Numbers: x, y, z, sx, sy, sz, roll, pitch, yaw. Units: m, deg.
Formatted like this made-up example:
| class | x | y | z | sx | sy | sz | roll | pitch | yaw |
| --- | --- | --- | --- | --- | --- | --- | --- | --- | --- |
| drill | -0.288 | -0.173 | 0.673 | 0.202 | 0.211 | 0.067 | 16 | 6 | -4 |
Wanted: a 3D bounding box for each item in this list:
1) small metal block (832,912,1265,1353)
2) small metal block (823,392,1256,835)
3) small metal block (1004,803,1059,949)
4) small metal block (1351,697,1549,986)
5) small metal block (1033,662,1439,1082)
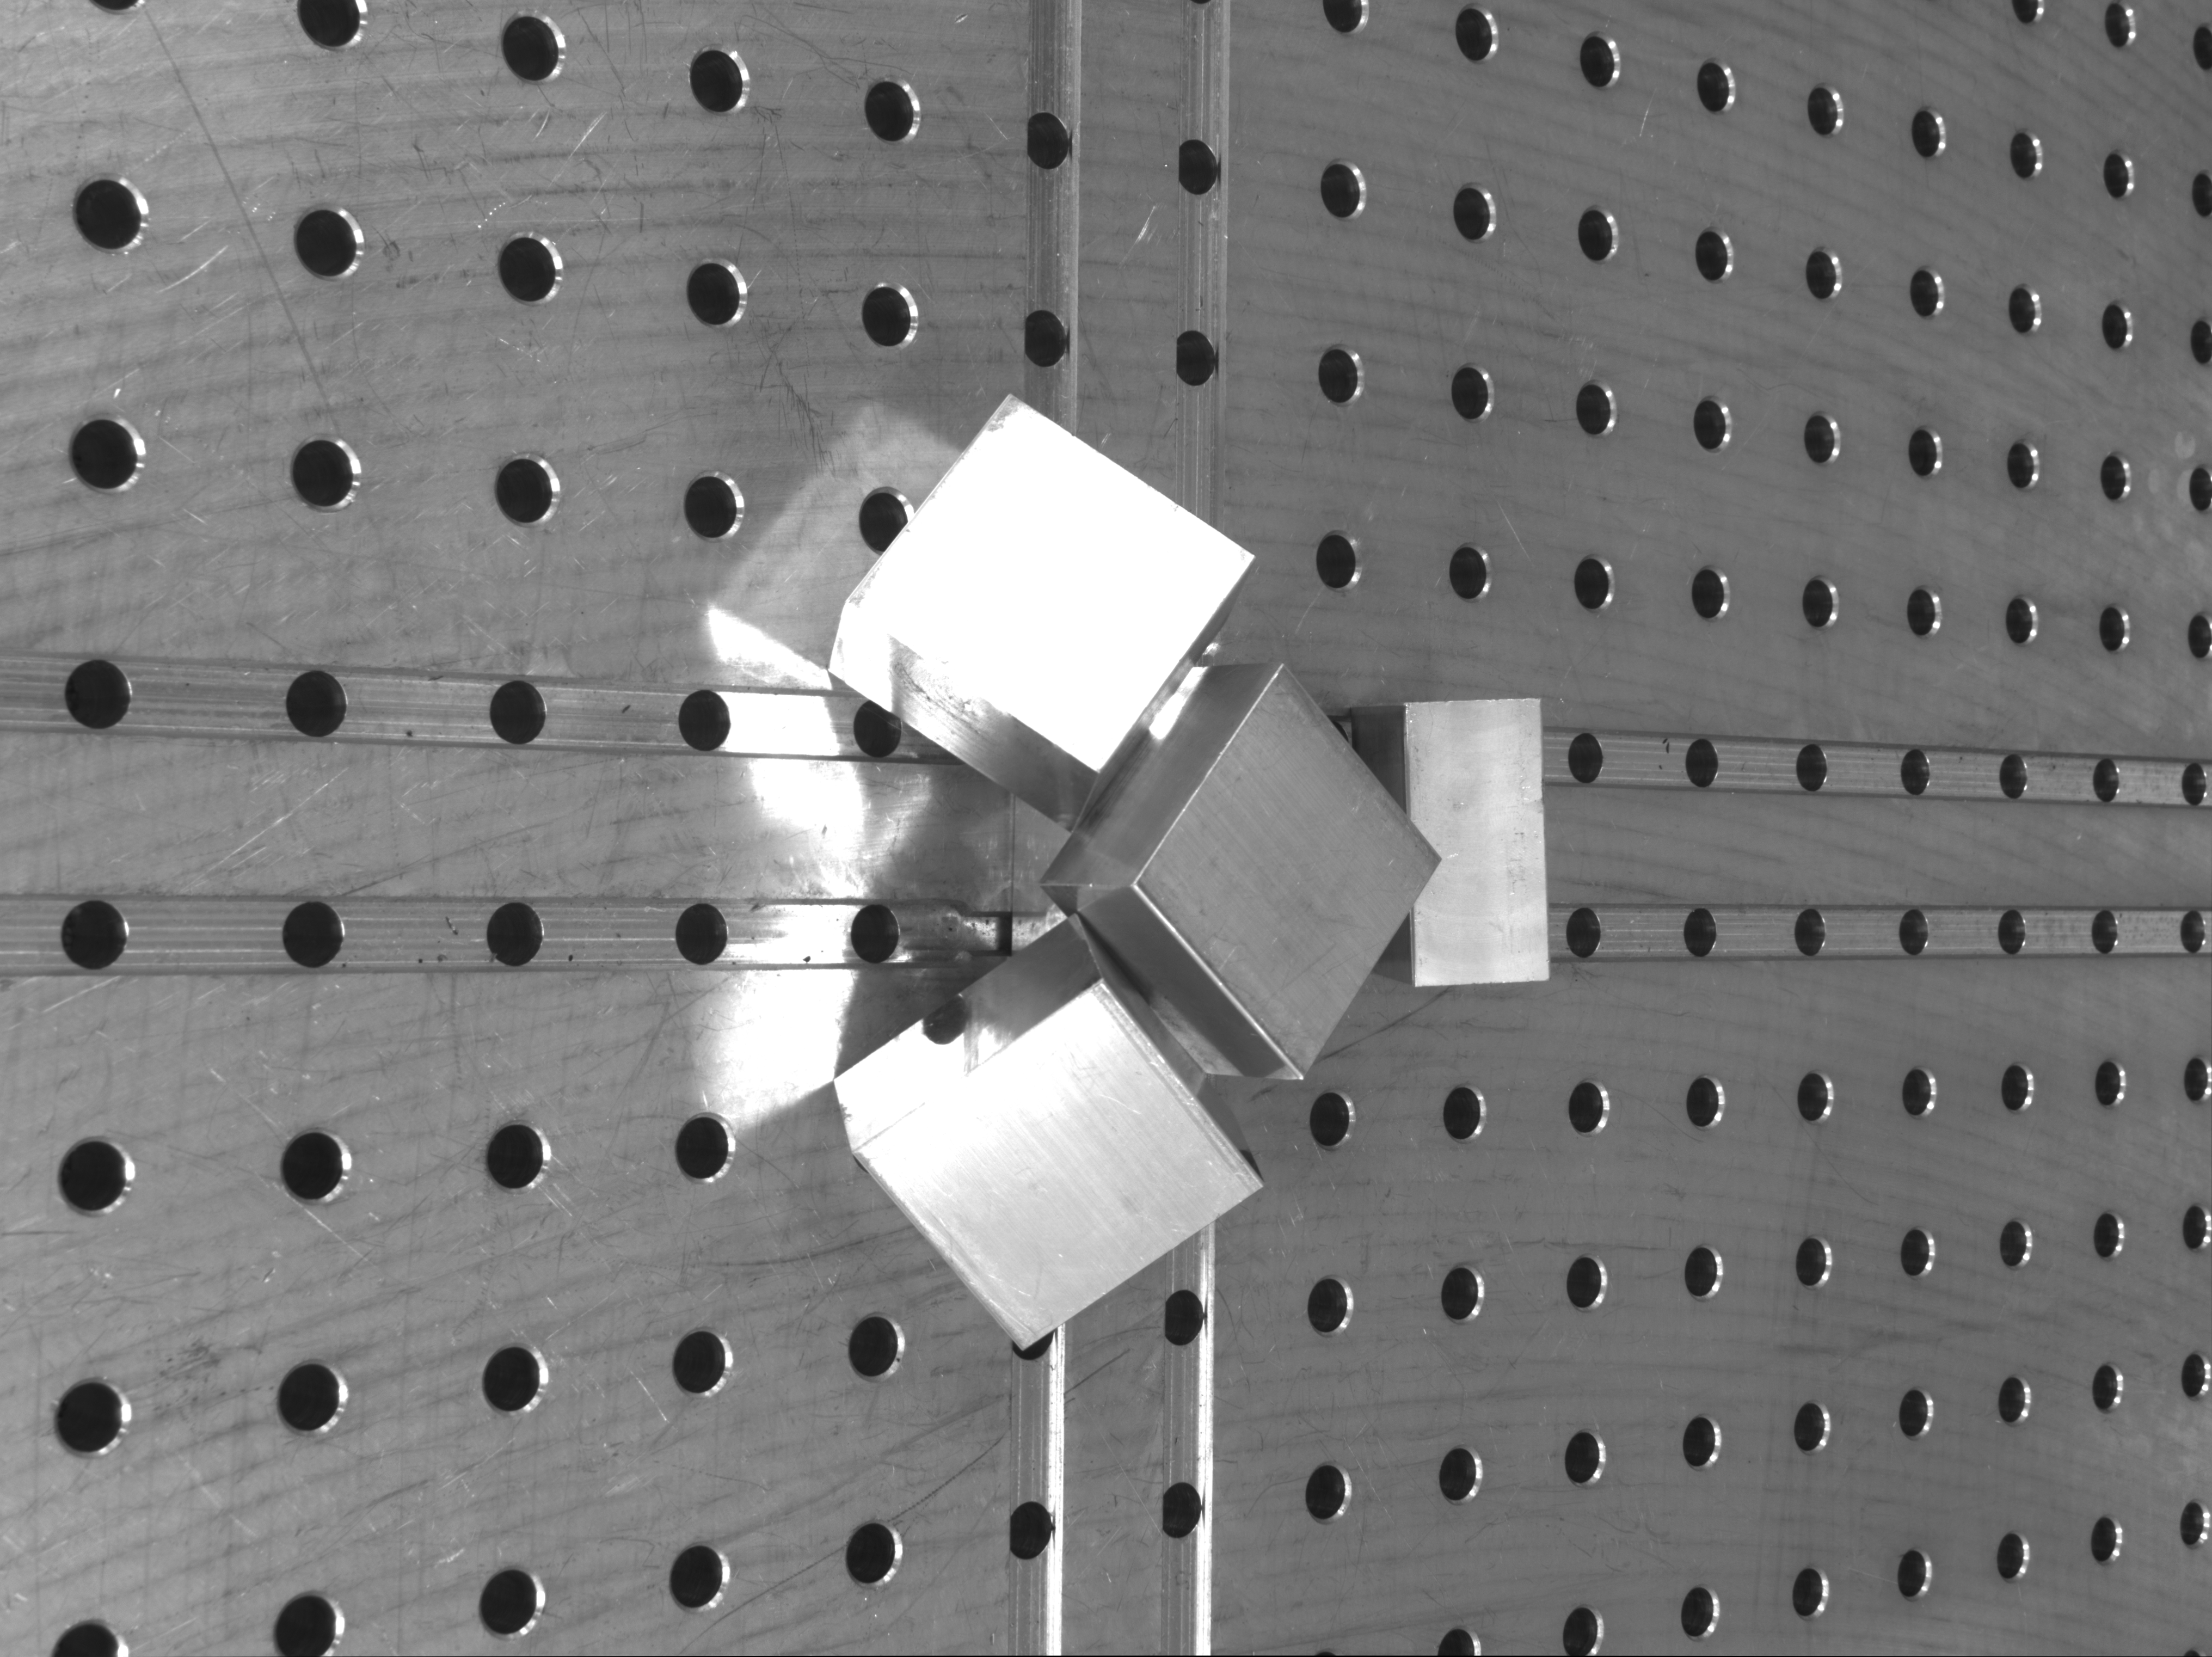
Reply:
| class | x | y | z | sx | sy | sz | roll | pitch | yaw |
| --- | --- | --- | --- | --- | --- | --- | --- | --- | --- |
| small metal block | -0.010 | 0.051 | 0.615 | 0.050 | 0.025 | 0.050 | -35 | 117 | 6 |
| small metal block | -0.011 | -0.036 | 0.614 | 0.050 | 0.025 | 0.050 | 34 | 64 | 4 |
| small metal block | 0.010 | 0.007 | 0.648 | 0.050 | 0.025 | 0.050 | 2 | 91 | -40 |
| small metal block | 0.062 | 0.002 | 0.671 | 0.025 | 0.050 | 0.050 | -2 | 92 | -7 |
| small metal block | 0.023 | 0.007 | 0.625 | 0.050 | 0.025 | 0.050 | 49 | 61 | -29 |
